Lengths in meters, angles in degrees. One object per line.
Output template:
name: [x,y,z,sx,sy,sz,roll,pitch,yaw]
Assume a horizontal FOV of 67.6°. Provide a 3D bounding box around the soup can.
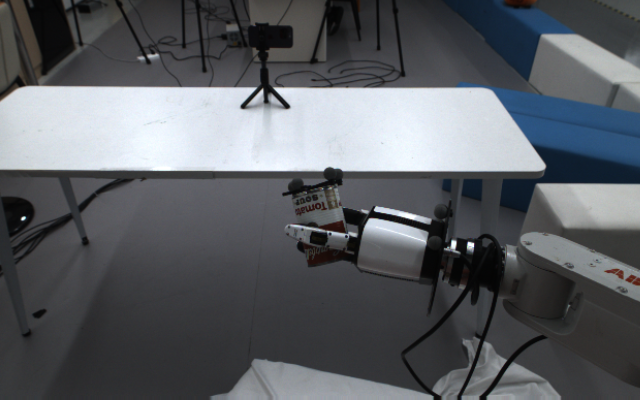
soup can: [0.005,0.037,0.678,0.067,0.101,0.067,-14,-2,-1]
